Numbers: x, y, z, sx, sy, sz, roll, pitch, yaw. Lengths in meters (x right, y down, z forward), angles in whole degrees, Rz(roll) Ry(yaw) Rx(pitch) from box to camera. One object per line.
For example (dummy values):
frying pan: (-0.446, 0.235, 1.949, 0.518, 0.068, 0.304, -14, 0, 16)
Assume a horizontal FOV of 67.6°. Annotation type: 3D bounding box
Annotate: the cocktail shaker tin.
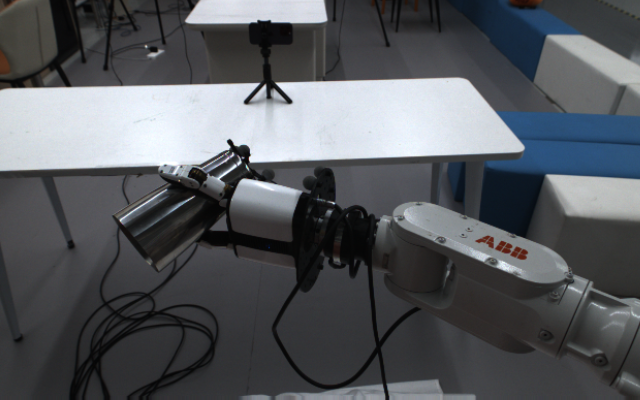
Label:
cocktail shaker tin: (-0.171, 0.003, 0.640, 0.170, 0.093, 0.093, -38, 49, -24)
